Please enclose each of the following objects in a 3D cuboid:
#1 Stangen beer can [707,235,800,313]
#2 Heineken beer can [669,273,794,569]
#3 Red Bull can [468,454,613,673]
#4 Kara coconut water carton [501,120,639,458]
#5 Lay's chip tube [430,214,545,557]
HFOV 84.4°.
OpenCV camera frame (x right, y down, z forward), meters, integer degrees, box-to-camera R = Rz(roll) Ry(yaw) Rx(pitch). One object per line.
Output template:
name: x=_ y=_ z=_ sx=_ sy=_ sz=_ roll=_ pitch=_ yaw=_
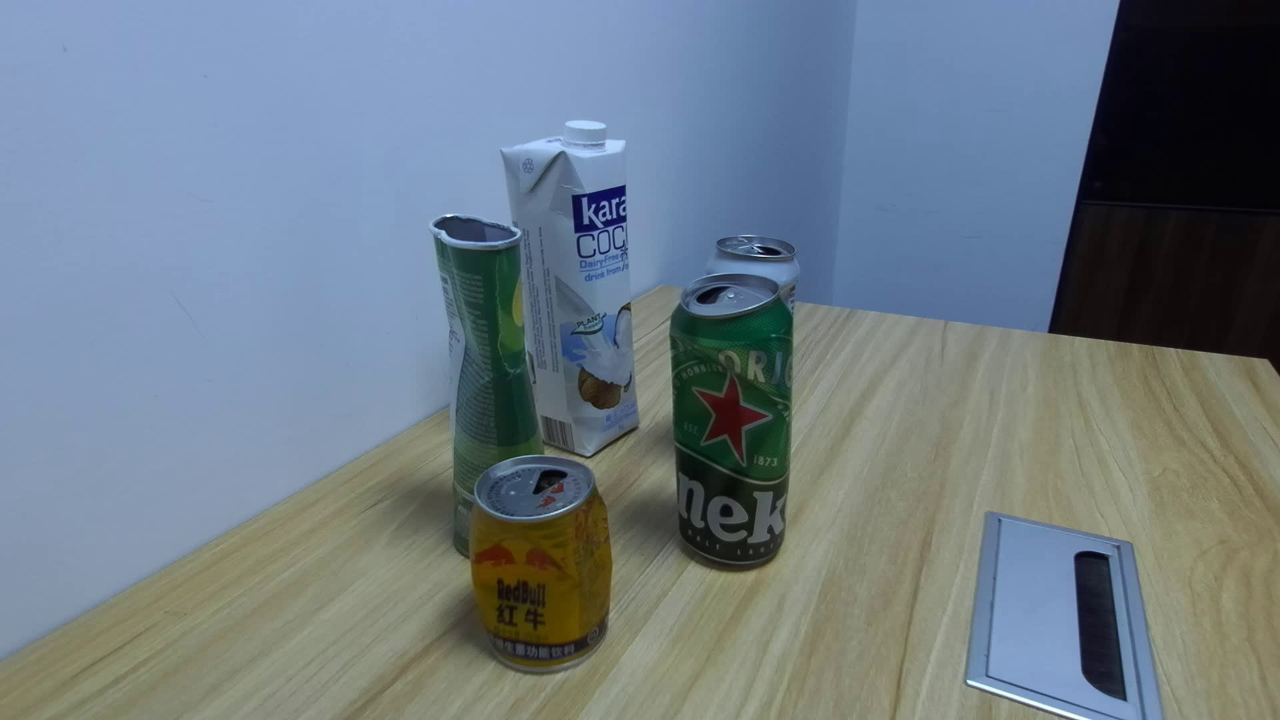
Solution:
Stangen beer can: x=0.068 y=-0.010 z=0.514 sx=0.070 sy=0.173 sz=0.070 roll=-3 pitch=34 yaw=-16
Heineken beer can: x=0.054 y=0.039 z=0.414 sx=0.069 sy=0.168 sz=0.068 roll=-2 pitch=23 yaw=4
Red Bull can: x=-0.050 y=0.102 z=0.364 sx=0.072 sy=0.092 sz=0.072 roll=-2 pitch=22 yaw=1
Kara coconut water carton: x=-0.049 y=-0.052 z=0.539 sx=0.075 sy=0.245 sz=0.077 roll=13 pitch=26 yaw=36
Lay's chip tube: x=-0.090 y=0.020 z=0.425 sx=0.074 sy=0.199 sz=0.069 roll=6 pitch=24 yaw=18
